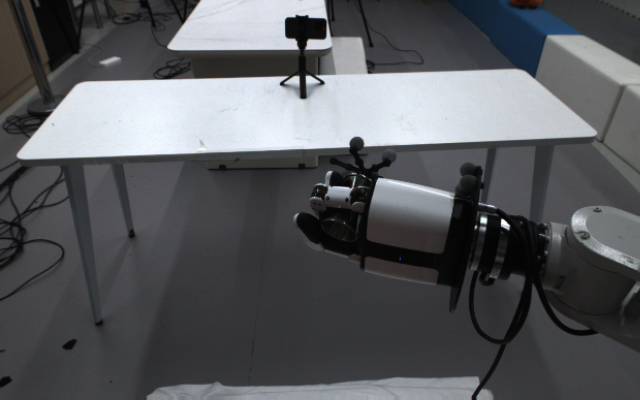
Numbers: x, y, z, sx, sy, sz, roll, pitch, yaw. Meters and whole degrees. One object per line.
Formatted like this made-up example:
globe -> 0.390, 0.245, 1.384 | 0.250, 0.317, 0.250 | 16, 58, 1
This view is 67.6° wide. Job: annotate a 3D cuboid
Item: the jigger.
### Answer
jigger -> 0.035, 0.005, 0.551 | 0.043, 0.043, 0.071 | 15, 58, 18
